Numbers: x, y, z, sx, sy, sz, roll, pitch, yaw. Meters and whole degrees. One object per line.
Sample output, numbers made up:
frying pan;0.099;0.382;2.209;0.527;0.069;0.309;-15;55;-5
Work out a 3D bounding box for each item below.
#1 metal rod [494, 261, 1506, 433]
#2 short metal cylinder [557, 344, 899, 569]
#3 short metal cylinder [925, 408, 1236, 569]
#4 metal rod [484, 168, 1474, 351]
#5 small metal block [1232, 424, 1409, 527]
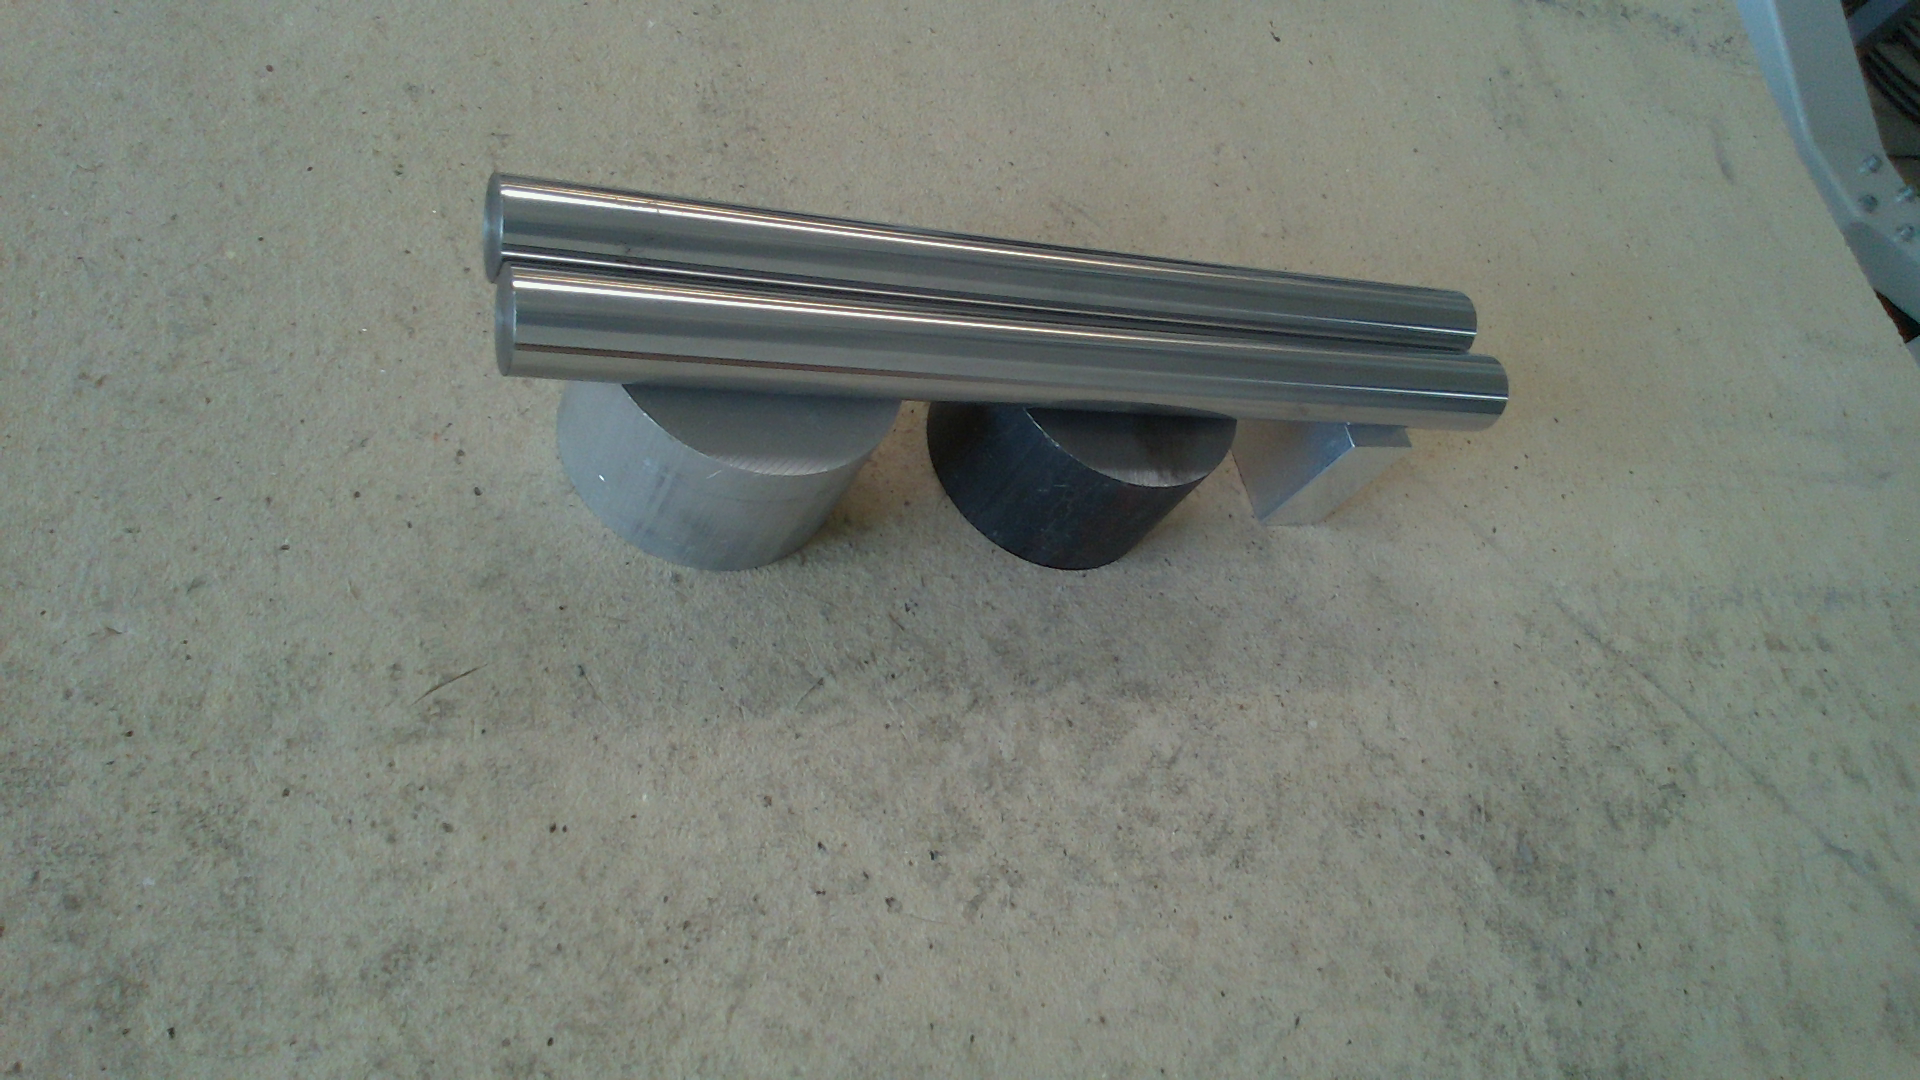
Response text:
metal rod;0.033;-0.048;0.372;0.301;0.025;0.025;0;61;-28
short metal cylinder;-0.061;-0.039;0.364;0.080;0.050;0.080;14;56;-21
short metal cylinder;0.036;-0.038;0.417;0.080;0.050;0.080;14;56;-21
metal rod;0.027;-0.071;0.382;0.301;0.025;0.025;0;61;-28
small metal block;0.115;-0.039;0.461;0.025;0.050;0.050;-1;62;-29
